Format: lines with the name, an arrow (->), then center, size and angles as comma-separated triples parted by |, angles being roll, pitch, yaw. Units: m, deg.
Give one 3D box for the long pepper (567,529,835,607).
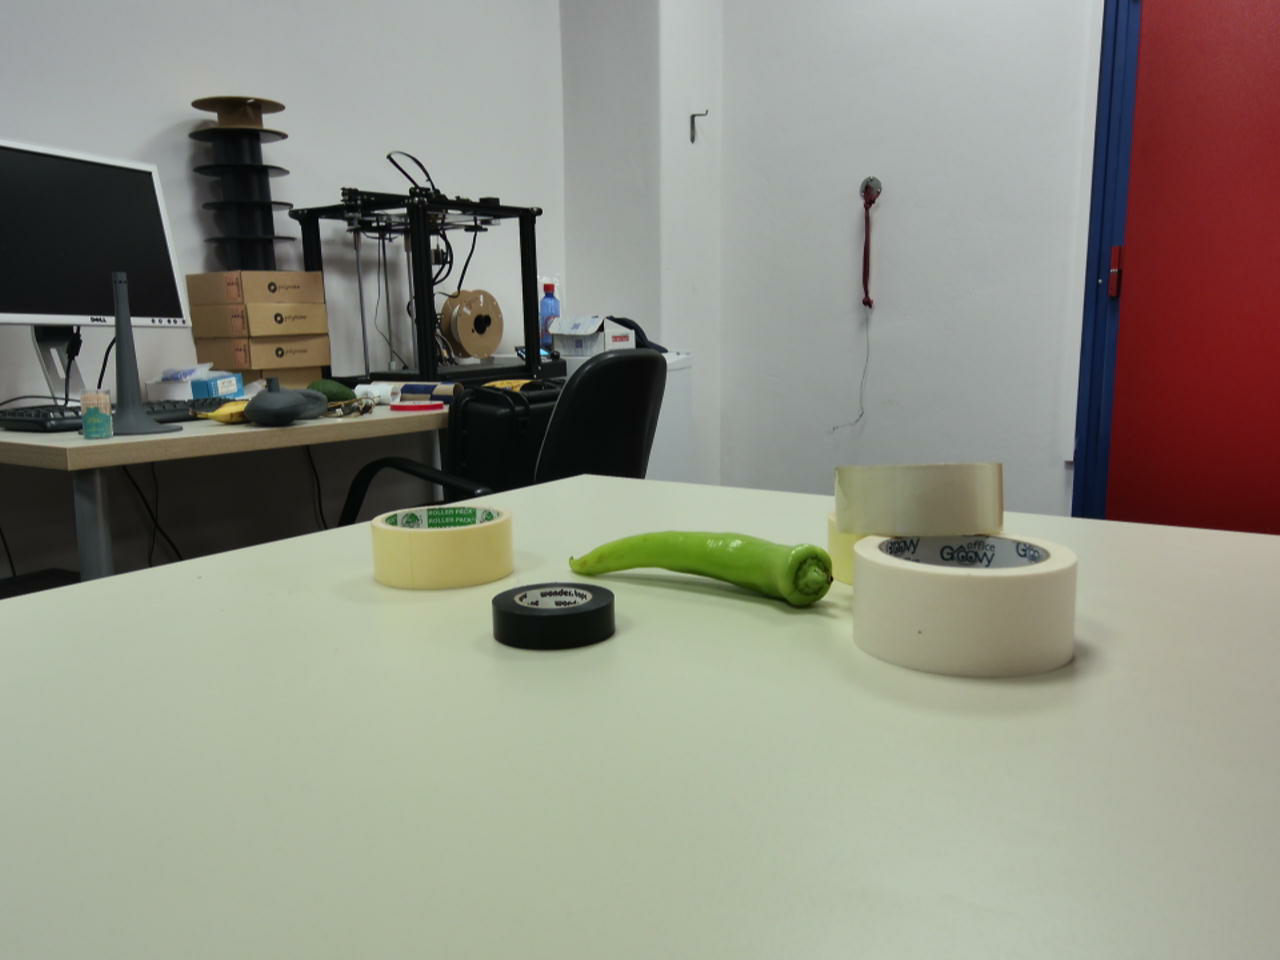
long pepper -> 0.037, 0.049, 0.625 | 0.197, 0.038, 0.046 | 6, 8, 37
